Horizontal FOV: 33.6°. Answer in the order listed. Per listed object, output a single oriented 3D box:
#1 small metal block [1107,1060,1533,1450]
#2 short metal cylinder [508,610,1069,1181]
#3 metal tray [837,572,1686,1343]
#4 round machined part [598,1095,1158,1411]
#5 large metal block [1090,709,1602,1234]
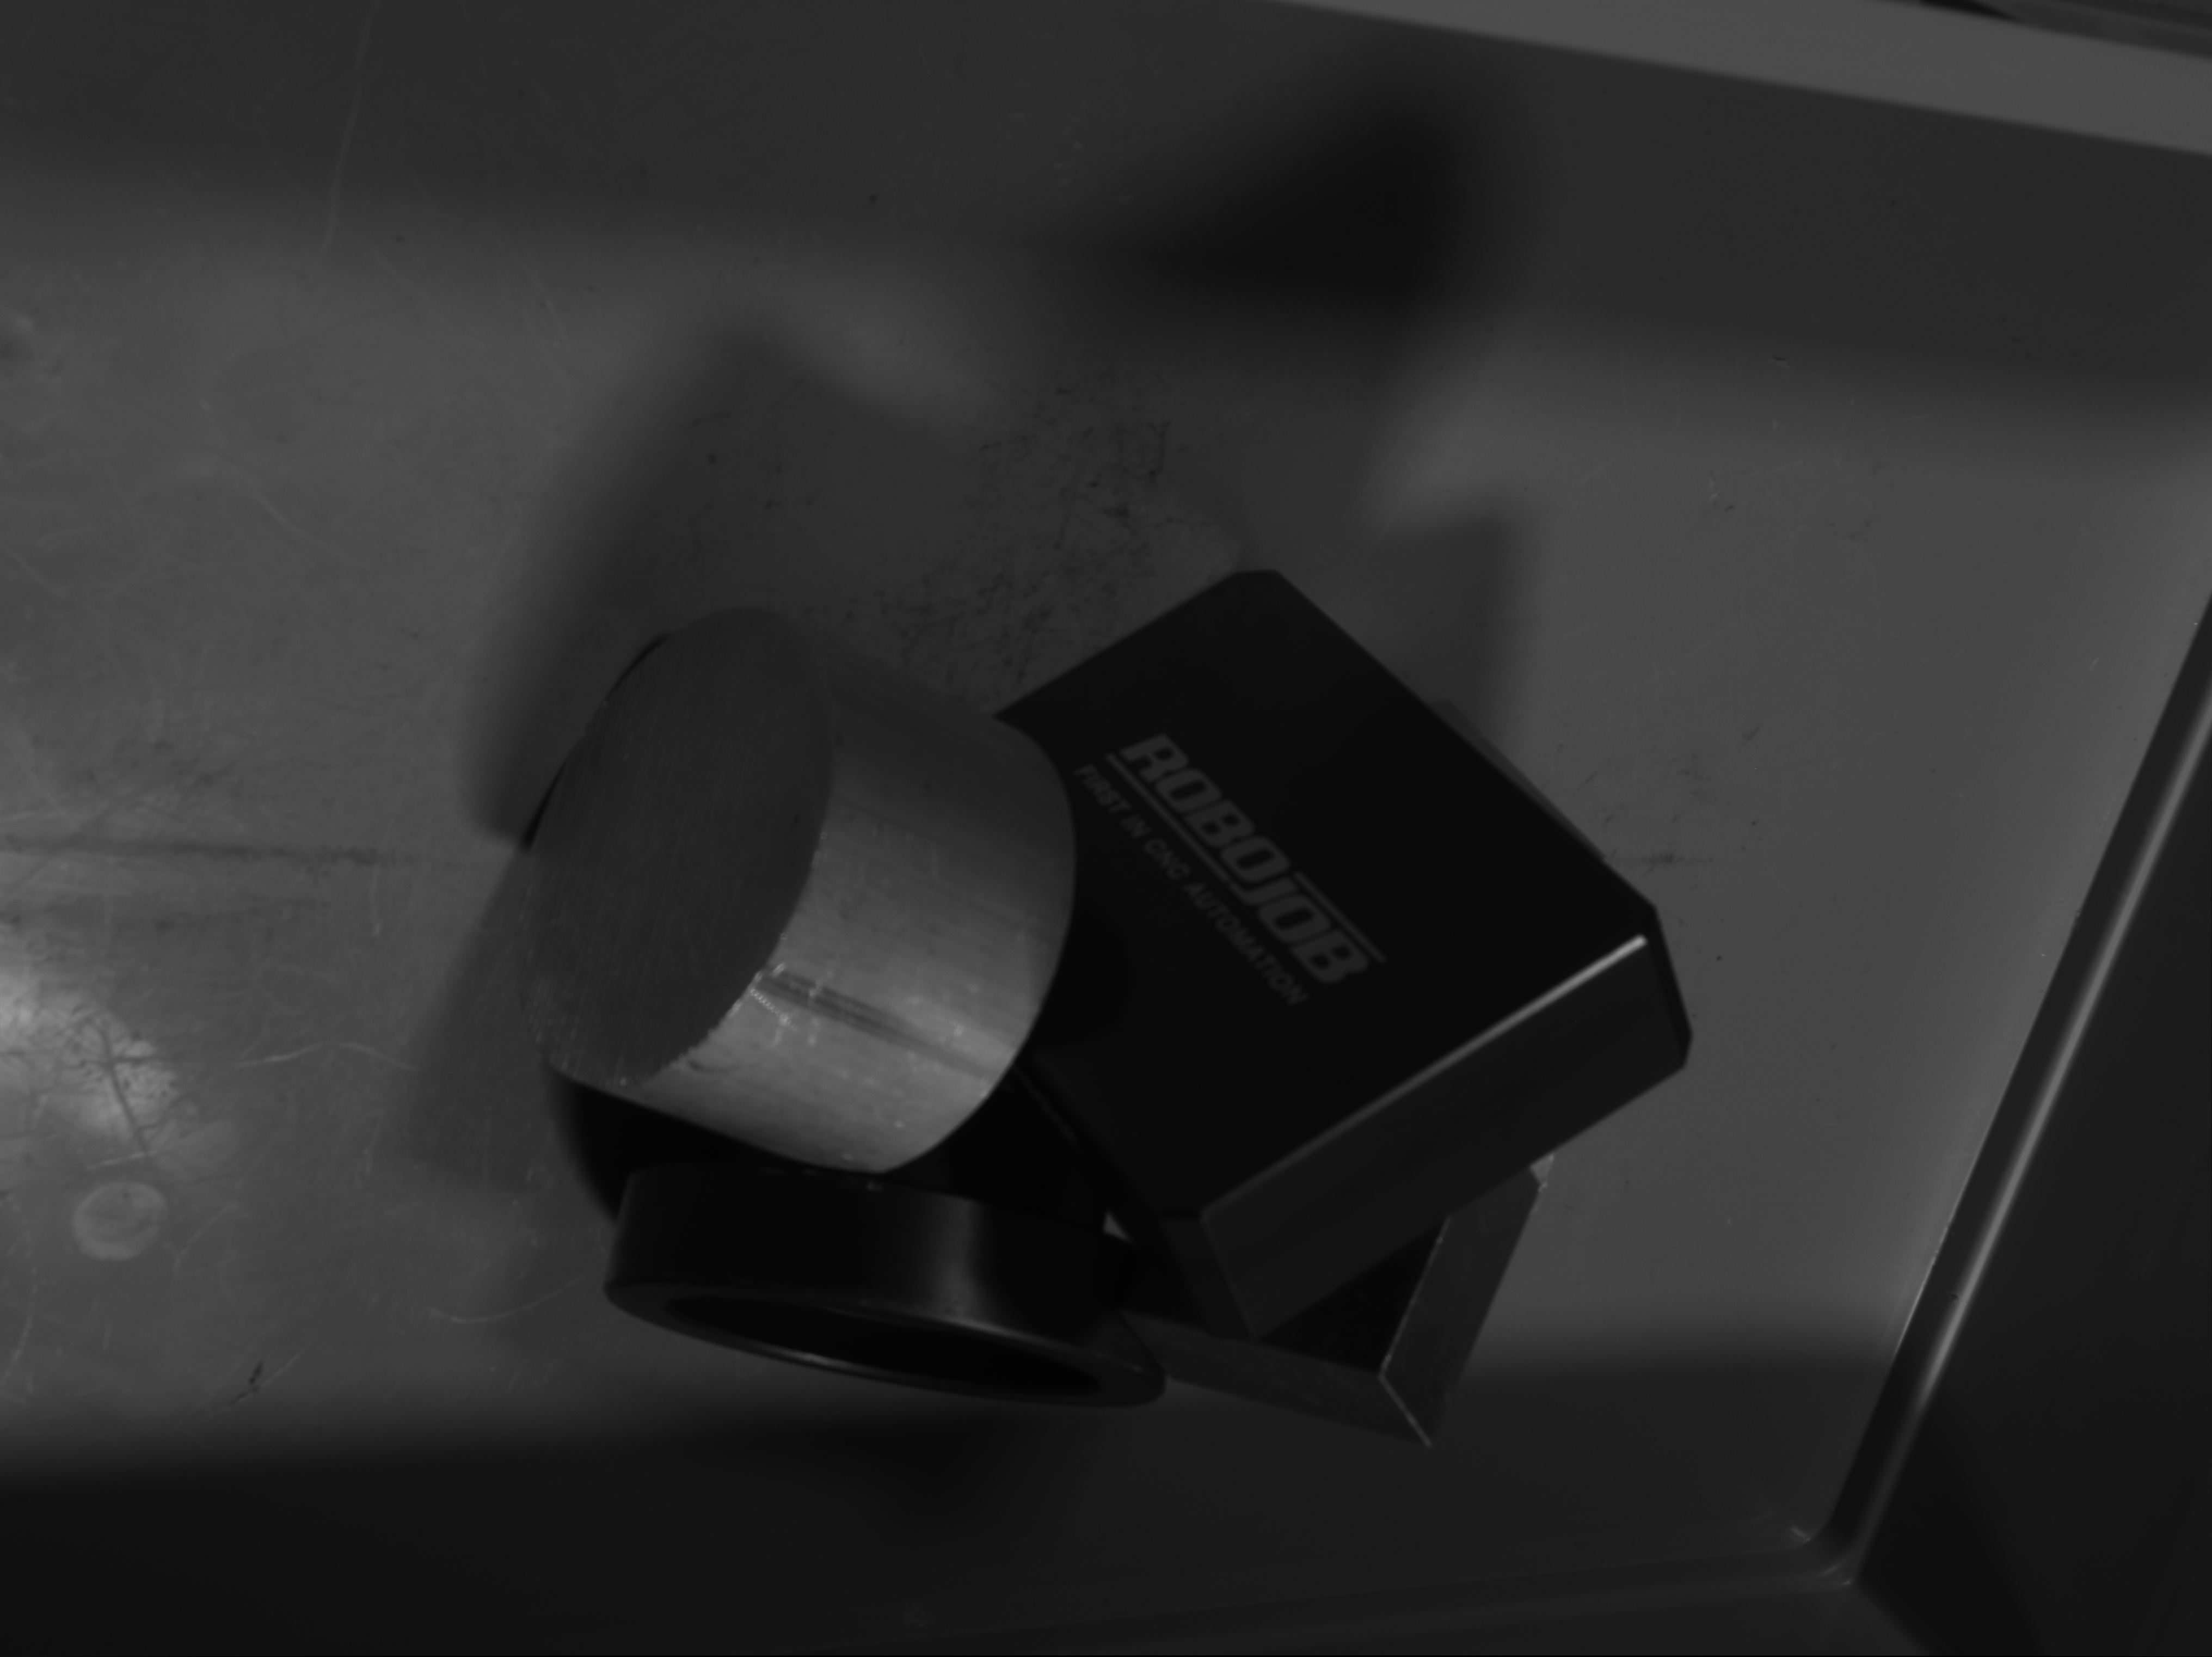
[{"bbox_3d":[0.036,0.070,0.608,0.050,0.050,0.025,-63,144,-25],"label":"small metal block"},{"bbox_3d":[-0.052,0.011,0.590,0.050,0.080,0.080,26,104,-38],"label":"short metal cylinder"},{"bbox_3d":[0.022,0.017,0.603,0.090,0.130,0.030,-31,130,-10],"label":"metal tray"},{"bbox_3d":[-0.036,0.070,0.636,0.098,0.098,0.042,23,69,-38],"label":"round machined part"},{"bbox_3d":[0.038,0.033,0.666,0.080,0.050,0.080,-14,129,-23],"label":"large metal block"}]
